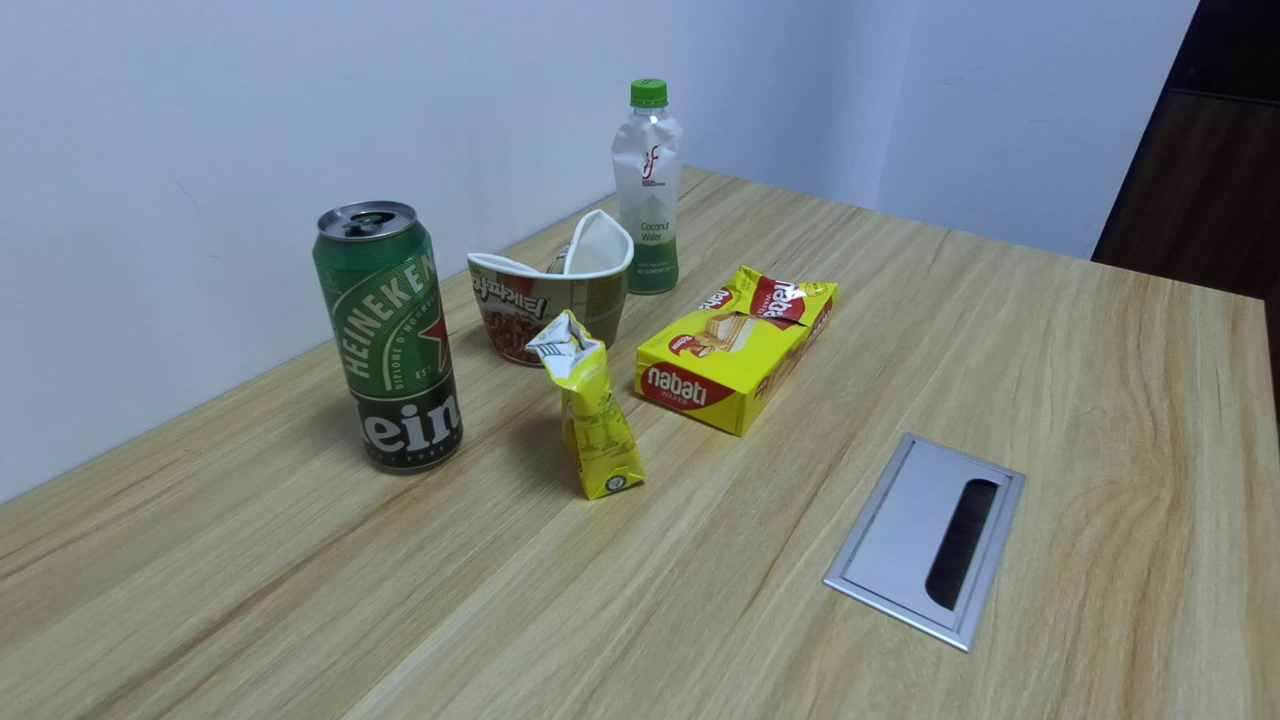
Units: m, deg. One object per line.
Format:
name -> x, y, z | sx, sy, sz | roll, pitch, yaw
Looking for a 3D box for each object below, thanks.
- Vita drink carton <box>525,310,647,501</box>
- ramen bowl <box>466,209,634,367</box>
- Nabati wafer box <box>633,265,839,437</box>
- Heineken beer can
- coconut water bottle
Vita drink carton -> -0.035, 0.029, 0.449 | 0.042, 0.108, 0.086 | -22, 34, -9
ramen bowl -> -0.071, -0.057, 0.581 | 0.137, 0.098, 0.137 | -1, 36, 1
Nabati wafer box -> 0.084, -0.023, 0.585 | 0.106, 0.042, 0.205 | 22, 38, 24
Heineken beer can -> -0.155, -0.010, 0.448 | 0.067, 0.169, 0.067 | 1, 34, 0
coconut water bottle -> 0.009, -0.154, 0.642 | 0.069, 0.186, 0.069 | 1, 34, 0
